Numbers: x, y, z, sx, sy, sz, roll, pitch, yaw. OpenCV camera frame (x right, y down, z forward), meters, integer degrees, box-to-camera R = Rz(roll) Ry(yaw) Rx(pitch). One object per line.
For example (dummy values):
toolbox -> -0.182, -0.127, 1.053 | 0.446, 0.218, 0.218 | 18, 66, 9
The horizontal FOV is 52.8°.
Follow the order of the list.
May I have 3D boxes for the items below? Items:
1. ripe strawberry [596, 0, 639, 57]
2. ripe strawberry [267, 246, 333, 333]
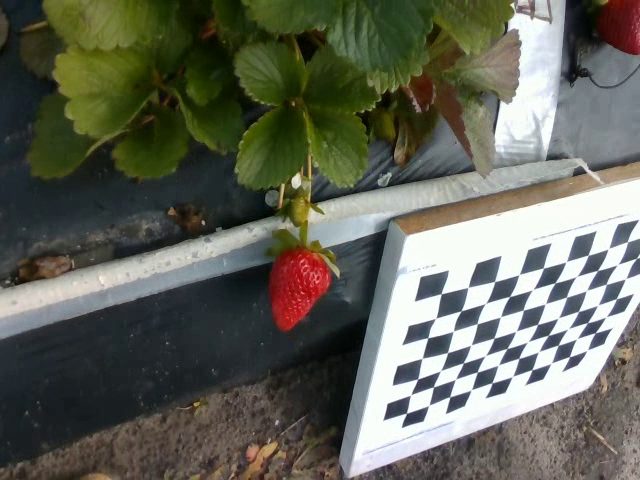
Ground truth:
ripe strawberry -> 0.195, -0.131, 0.407 | 0.037, 0.048, 0.030 | 0, -17, -31
ripe strawberry -> -0.012, 0.027, 0.352 | 0.030, 0.053, 0.047 | 20, -5, 45
